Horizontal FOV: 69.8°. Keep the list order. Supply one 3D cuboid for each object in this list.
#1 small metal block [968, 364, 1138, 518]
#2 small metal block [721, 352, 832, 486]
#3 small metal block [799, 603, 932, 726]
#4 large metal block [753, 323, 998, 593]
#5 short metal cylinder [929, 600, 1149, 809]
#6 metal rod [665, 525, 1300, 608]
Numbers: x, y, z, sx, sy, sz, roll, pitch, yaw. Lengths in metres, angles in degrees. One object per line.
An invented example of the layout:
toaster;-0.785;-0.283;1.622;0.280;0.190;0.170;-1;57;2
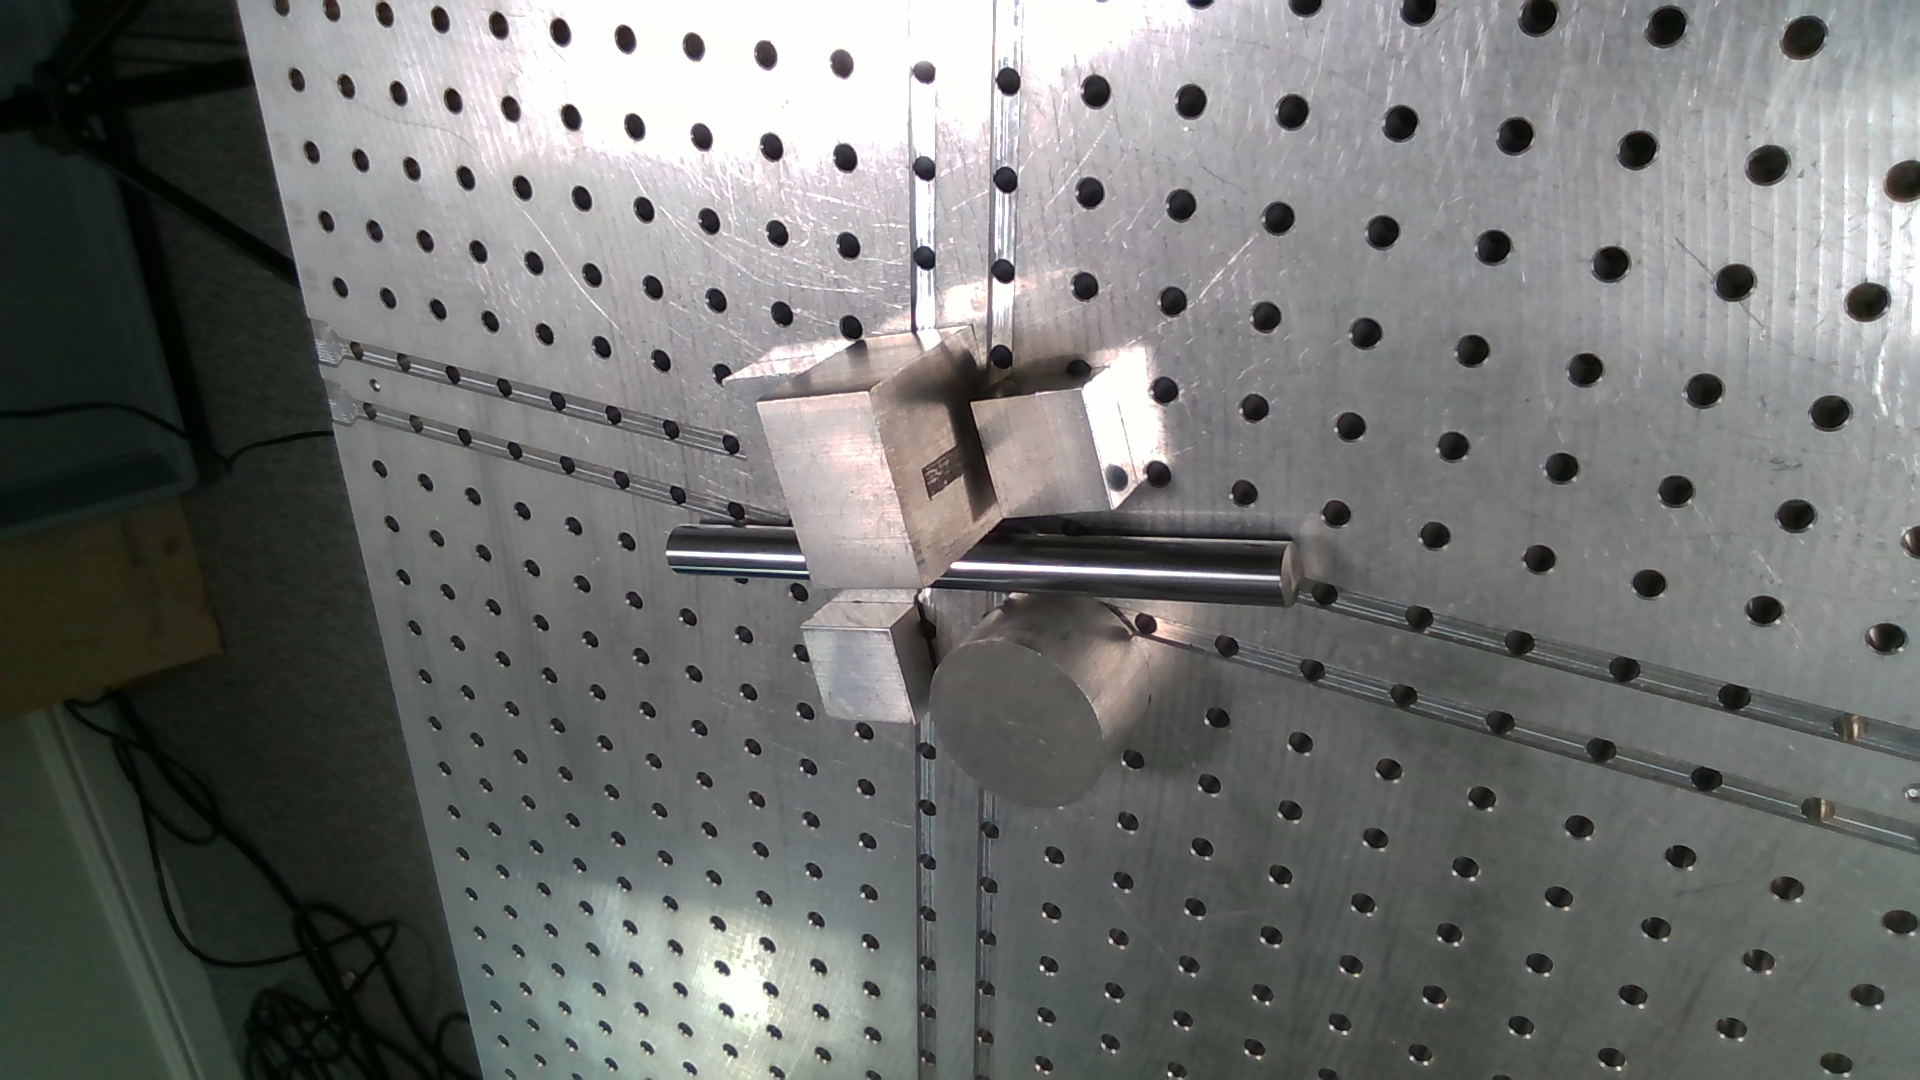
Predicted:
small metal block;0.037;-0.038;0.539;0.050;0.025;0.050;-3;113;33
small metal block;-0.070;-0.052;0.597;0.050;0.025;0.050;-1;114;32
small metal block;-0.041;0.057;0.639;0.050;0.025;0.050;-1;115;32
large metal block;-0.027;-0.033;0.544;0.050;0.080;0.080;-1;114;32
short metal cylinder;0.034;0.066;0.582;0.080;0.050;0.080;14;122;25
metal rod;-0.005;0.009;0.591;0.300;0.025;0.025;2;116;31
